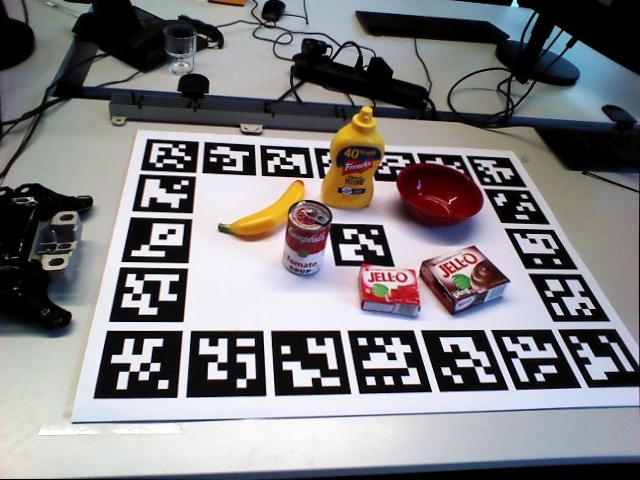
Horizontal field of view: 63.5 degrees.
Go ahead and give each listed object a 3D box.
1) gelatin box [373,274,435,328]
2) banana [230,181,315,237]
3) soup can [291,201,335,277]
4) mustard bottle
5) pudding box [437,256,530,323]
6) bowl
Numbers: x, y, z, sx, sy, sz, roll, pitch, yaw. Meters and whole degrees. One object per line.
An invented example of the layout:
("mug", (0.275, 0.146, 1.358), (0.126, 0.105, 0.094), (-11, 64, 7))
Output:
("gelatin box", (0.126, 0.092, 0.788), (0.089, 0.030, 0.073), (7, 47, -3))
("banana", (-0.062, -0.052, 0.895), (0.074, 0.039, 0.196), (25, 44, 29))
("soup can", (-0.005, -0.002, 0.794), (0.068, 0.102, 0.067), (7, 42, -7))
("mustard bottle", (0.092, -0.138, 0.886), (0.096, 0.192, 0.058), (3, 41, -9))
("pudding box", (0.259, 0.074, 0.826), (0.113, 0.039, 0.090), (-16, 55, -25))
("bowl", (0.250, -0.060, 0.957), (0.162, 0.055, 0.160), (4, 43, -5))
